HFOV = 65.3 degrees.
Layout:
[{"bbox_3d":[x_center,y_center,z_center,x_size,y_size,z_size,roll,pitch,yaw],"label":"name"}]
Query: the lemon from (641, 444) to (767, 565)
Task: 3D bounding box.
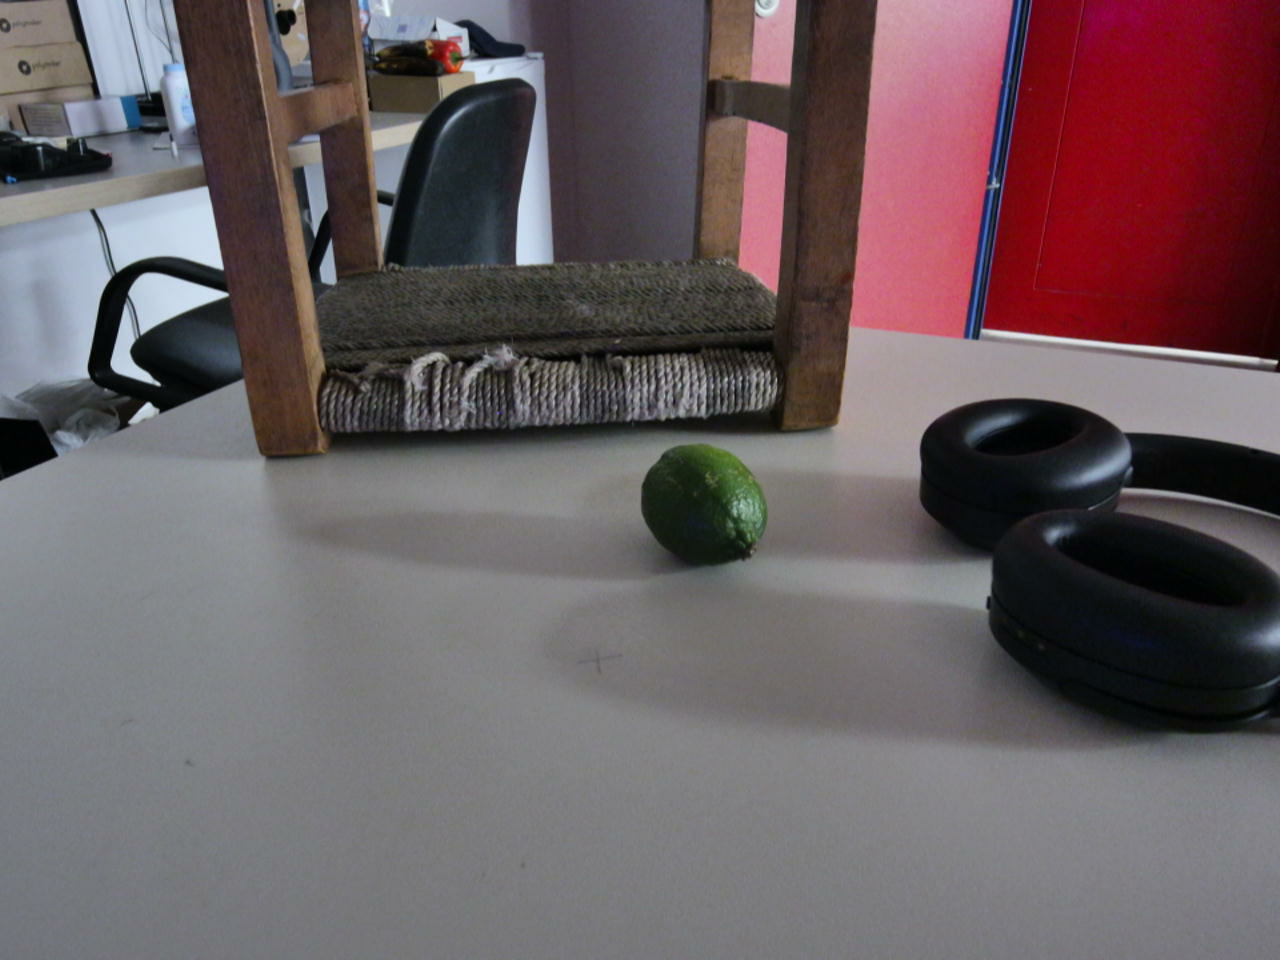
[{"bbox_3d":[0.028,0.010,0.441,0.057,0.051,0.054,9,25,20],"label":"lemon"}]
